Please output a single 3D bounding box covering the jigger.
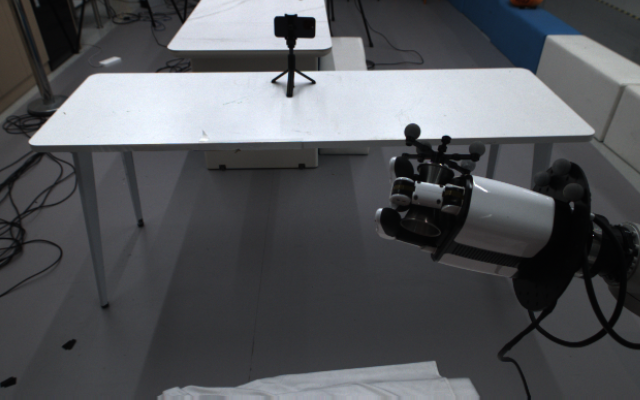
[{"bbox_3d":[0.117,-0.001,0.517,0.043,0.043,0.071,13,73,15],"label":"jigger"}]
